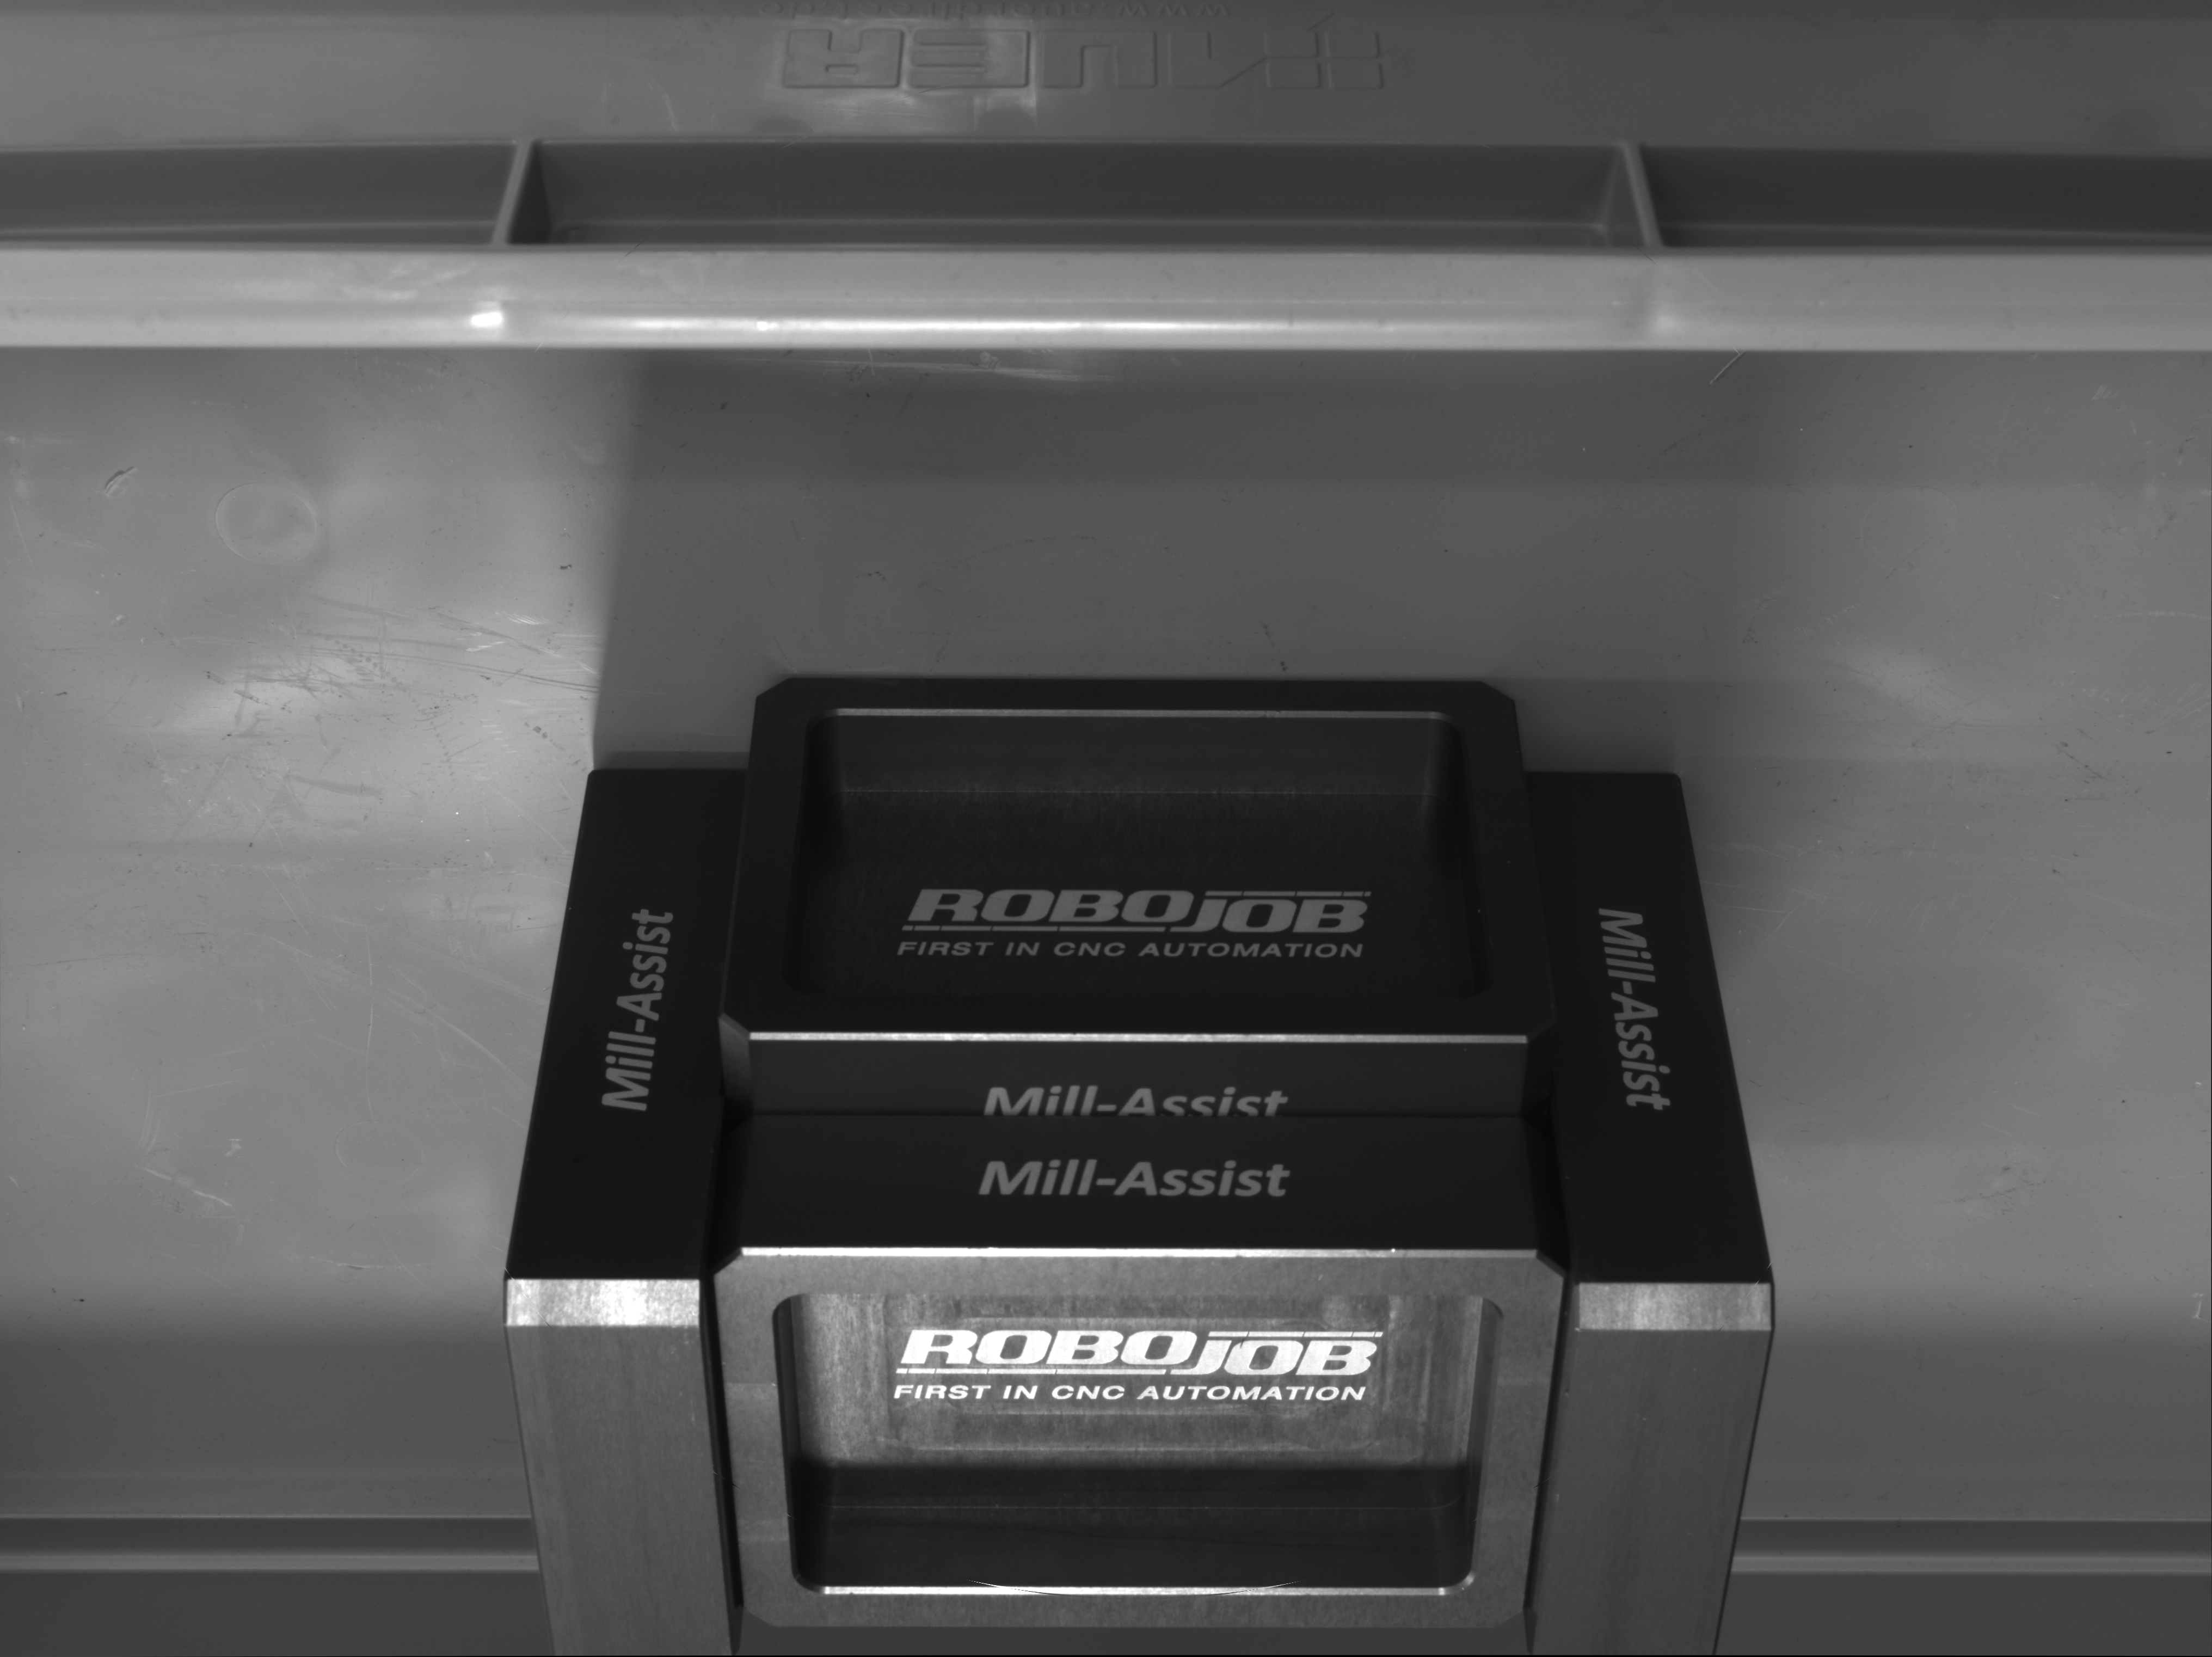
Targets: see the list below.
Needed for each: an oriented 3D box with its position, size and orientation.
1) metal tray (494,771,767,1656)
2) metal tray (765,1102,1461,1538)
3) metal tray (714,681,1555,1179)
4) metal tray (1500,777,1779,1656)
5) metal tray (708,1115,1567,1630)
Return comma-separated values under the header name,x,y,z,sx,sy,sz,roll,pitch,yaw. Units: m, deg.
name,x,y,z,sx,sy,sz,roll,pitch,yaw
metal tray,-0.076,0.063,0.622,0.030,0.130,0.090,0,130,0
metal tray,0.004,0.084,0.664,0.130,0.090,0.030,0,129,0
metal tray,0.005,0.015,0.606,0.130,0.090,0.030,1,131,0
metal tray,0.085,0.064,0.622,0.030,0.130,0.090,1,130,0
metal tray,0.005,0.089,0.591,0.130,0.030,0.090,0,130,-1
